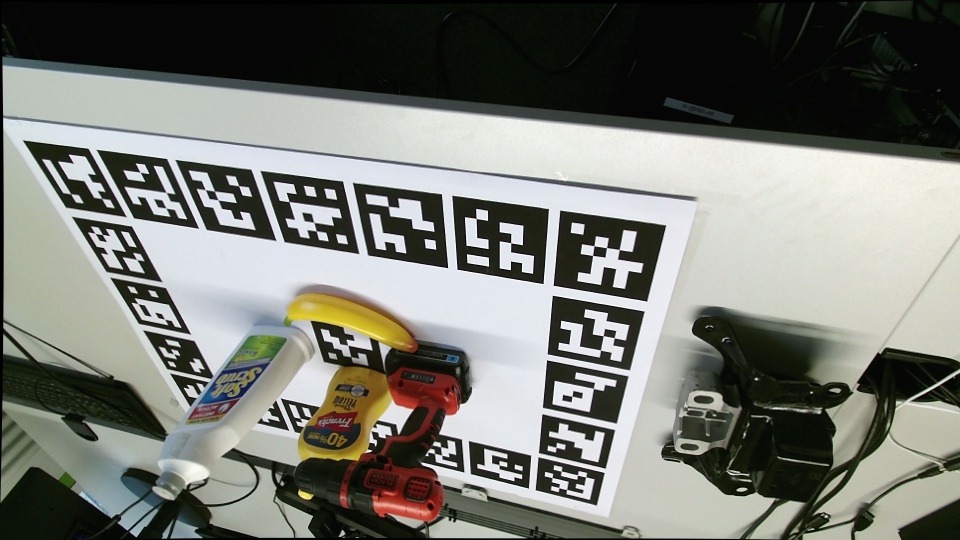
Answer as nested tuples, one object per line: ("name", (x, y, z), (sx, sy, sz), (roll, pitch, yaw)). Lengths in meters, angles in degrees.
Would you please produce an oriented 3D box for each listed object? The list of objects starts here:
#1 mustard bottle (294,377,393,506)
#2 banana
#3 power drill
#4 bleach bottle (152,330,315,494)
("mustard bottle", (-0.202, 0.239, 0.752), (0.096, 0.191, 0.058), (9, 129, 14))
("banana", (-0.190, 0.081, 0.721), (0.198, 0.039, 0.074), (10, 125, 10))
("power drill", (-0.110, 0.216, 0.678), (0.185, 0.186, 0.057), (7, 135, 17))
("bleach bottle", (-0.334, 0.187, 0.729), (0.103, 0.250, 0.068), (1, 126, 18))
